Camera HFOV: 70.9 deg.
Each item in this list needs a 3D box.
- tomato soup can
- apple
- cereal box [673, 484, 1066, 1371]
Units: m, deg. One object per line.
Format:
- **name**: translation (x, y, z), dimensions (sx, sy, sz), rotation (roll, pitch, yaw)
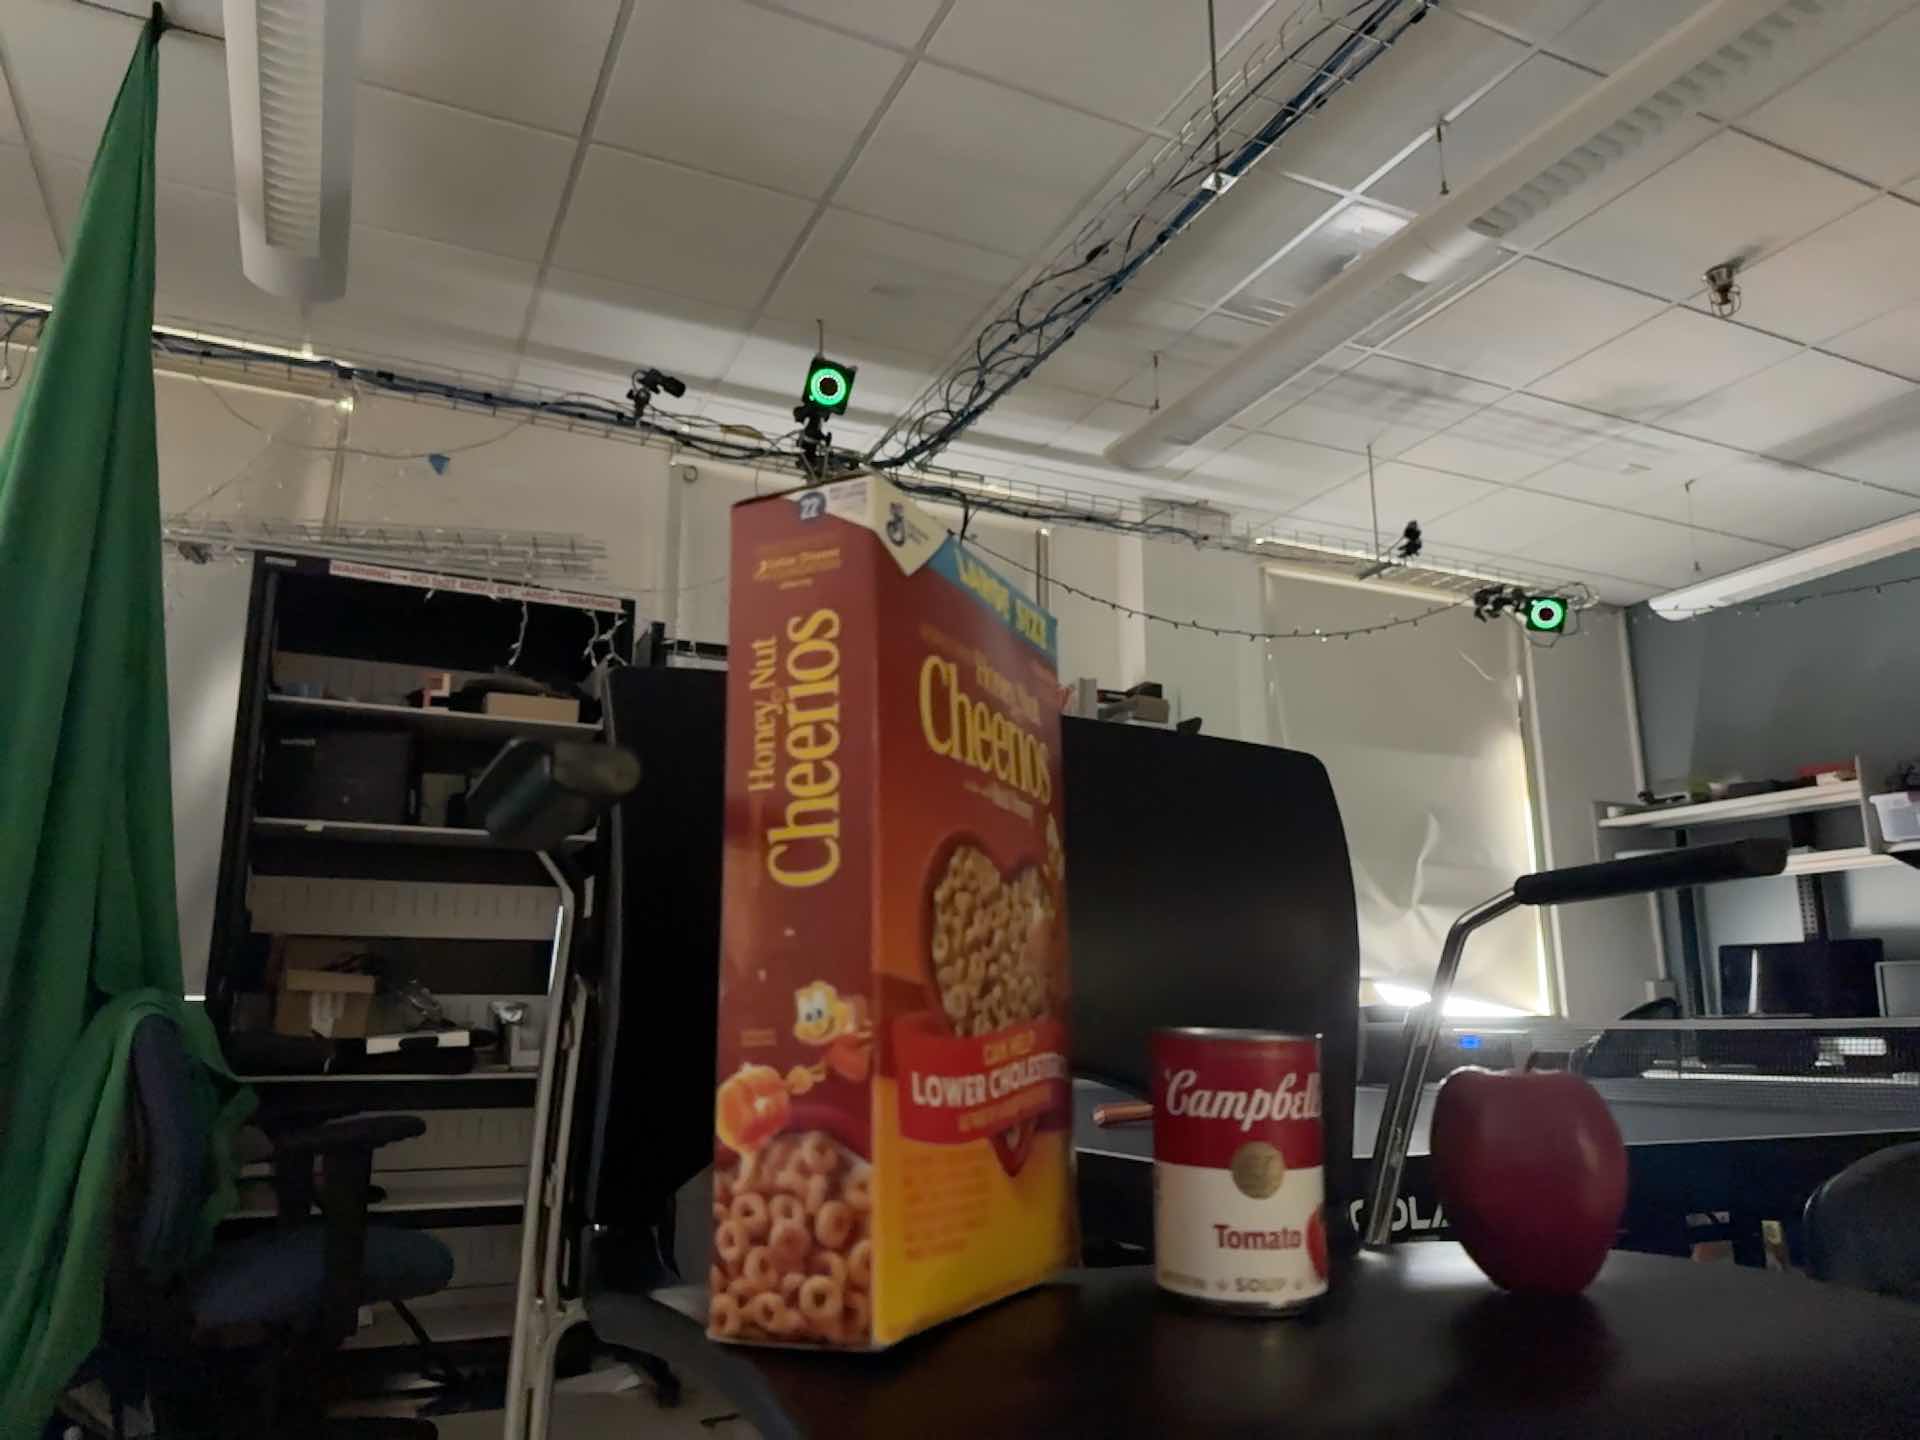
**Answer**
- **tomato soup can**: translation (0.109, 0.179, 0.545), dimensions (0.067, 0.102, 0.067), rotation (1, -10, 0)
- **apple**: translation (0.237, 0.187, 0.566), dimensions (0.079, 0.093, 0.079), rotation (1, -6, 0)
- **cereal box**: translation (-0.025, 0.080, 0.559), dimensions (0.065, 0.297, 0.195), rotation (-5, -14, 25)
